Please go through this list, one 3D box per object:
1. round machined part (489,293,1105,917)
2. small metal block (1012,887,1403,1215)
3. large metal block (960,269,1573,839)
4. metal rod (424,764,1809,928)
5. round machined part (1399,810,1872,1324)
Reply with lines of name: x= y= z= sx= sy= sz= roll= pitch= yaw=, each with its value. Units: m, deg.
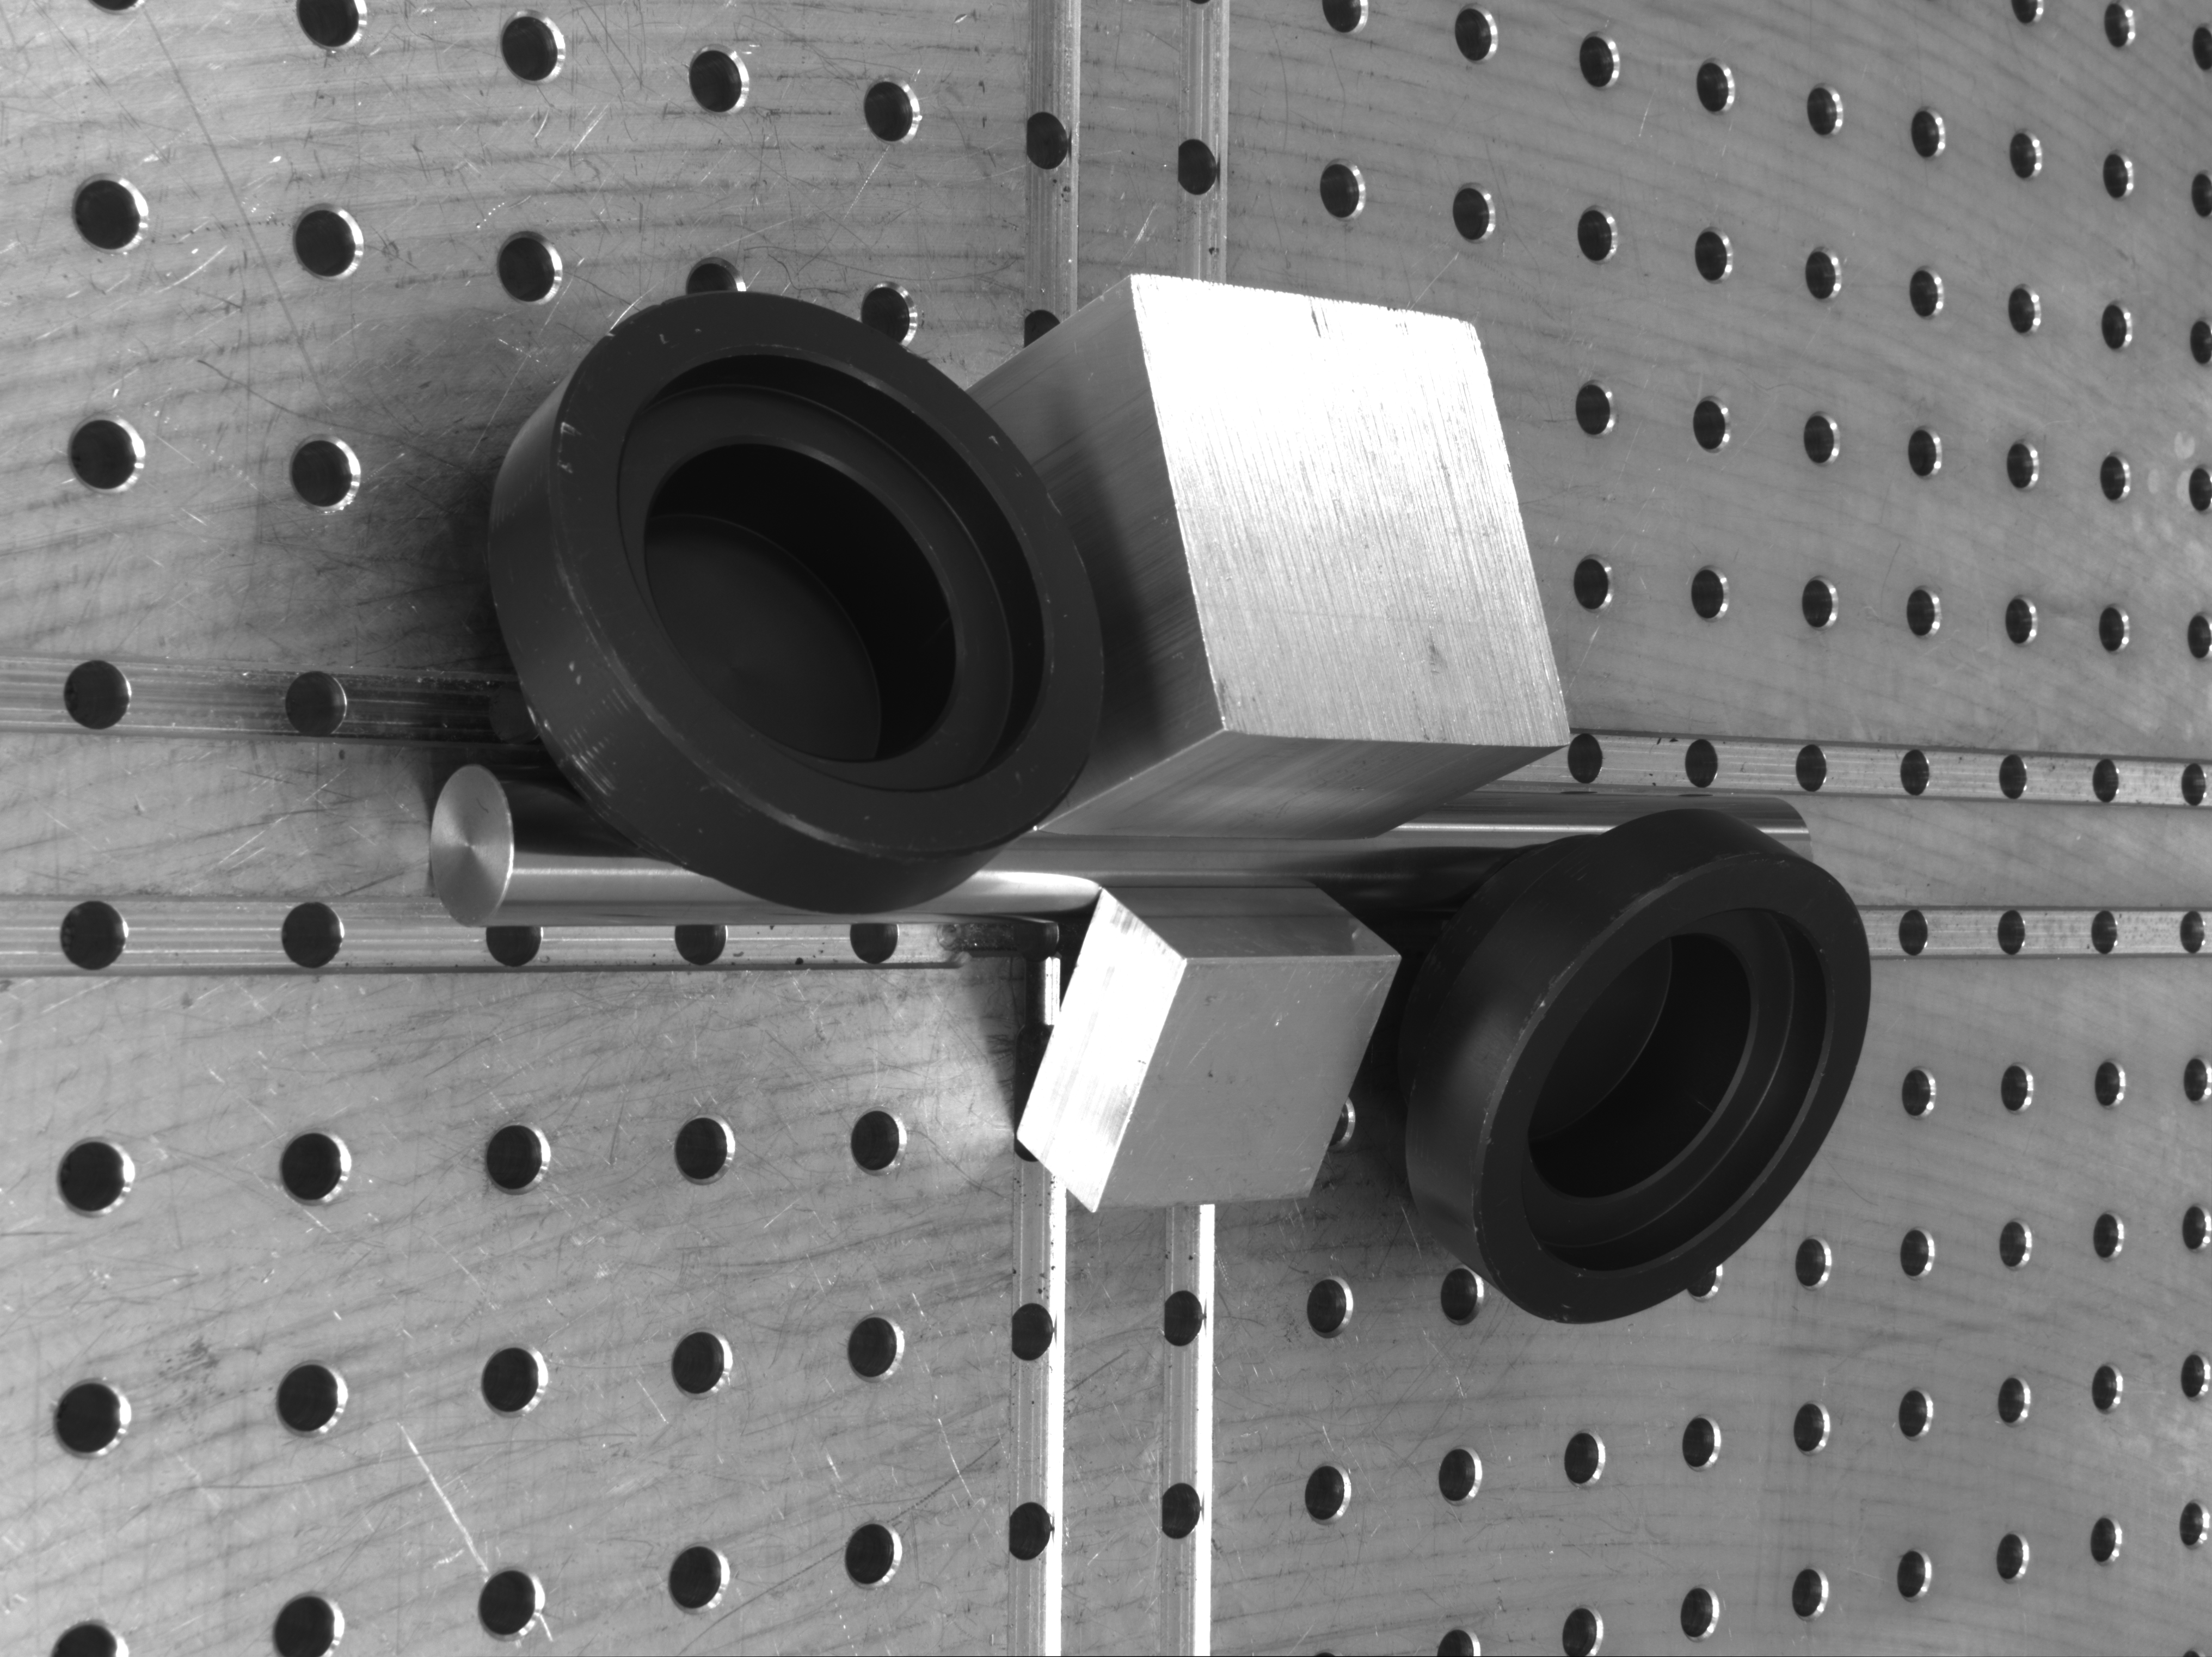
round machined part: x=-0.052 y=-0.030 z=0.569 sx=0.098 sy=0.042 sz=0.098 roll=21 pitch=52 yaw=-29
small metal block: x=0.018 y=0.038 z=0.641 sx=0.050 sy=0.025 sz=0.050 roll=1 pitch=118 yaw=-40
large metal block: x=0.026 y=-0.044 z=0.631 sx=0.080 sy=0.050 sz=0.080 roll=1 pitch=71 yaw=-40
metal rod: x=0.018 y=0.004 z=0.655 sx=0.301 sy=0.025 sz=0.025 roll=1 pitch=89 yaw=-40
round machined part: x=0.094 y=0.040 z=0.691 sx=0.098 sy=0.042 sz=0.098 roll=-20 pitch=127 yaw=-29
